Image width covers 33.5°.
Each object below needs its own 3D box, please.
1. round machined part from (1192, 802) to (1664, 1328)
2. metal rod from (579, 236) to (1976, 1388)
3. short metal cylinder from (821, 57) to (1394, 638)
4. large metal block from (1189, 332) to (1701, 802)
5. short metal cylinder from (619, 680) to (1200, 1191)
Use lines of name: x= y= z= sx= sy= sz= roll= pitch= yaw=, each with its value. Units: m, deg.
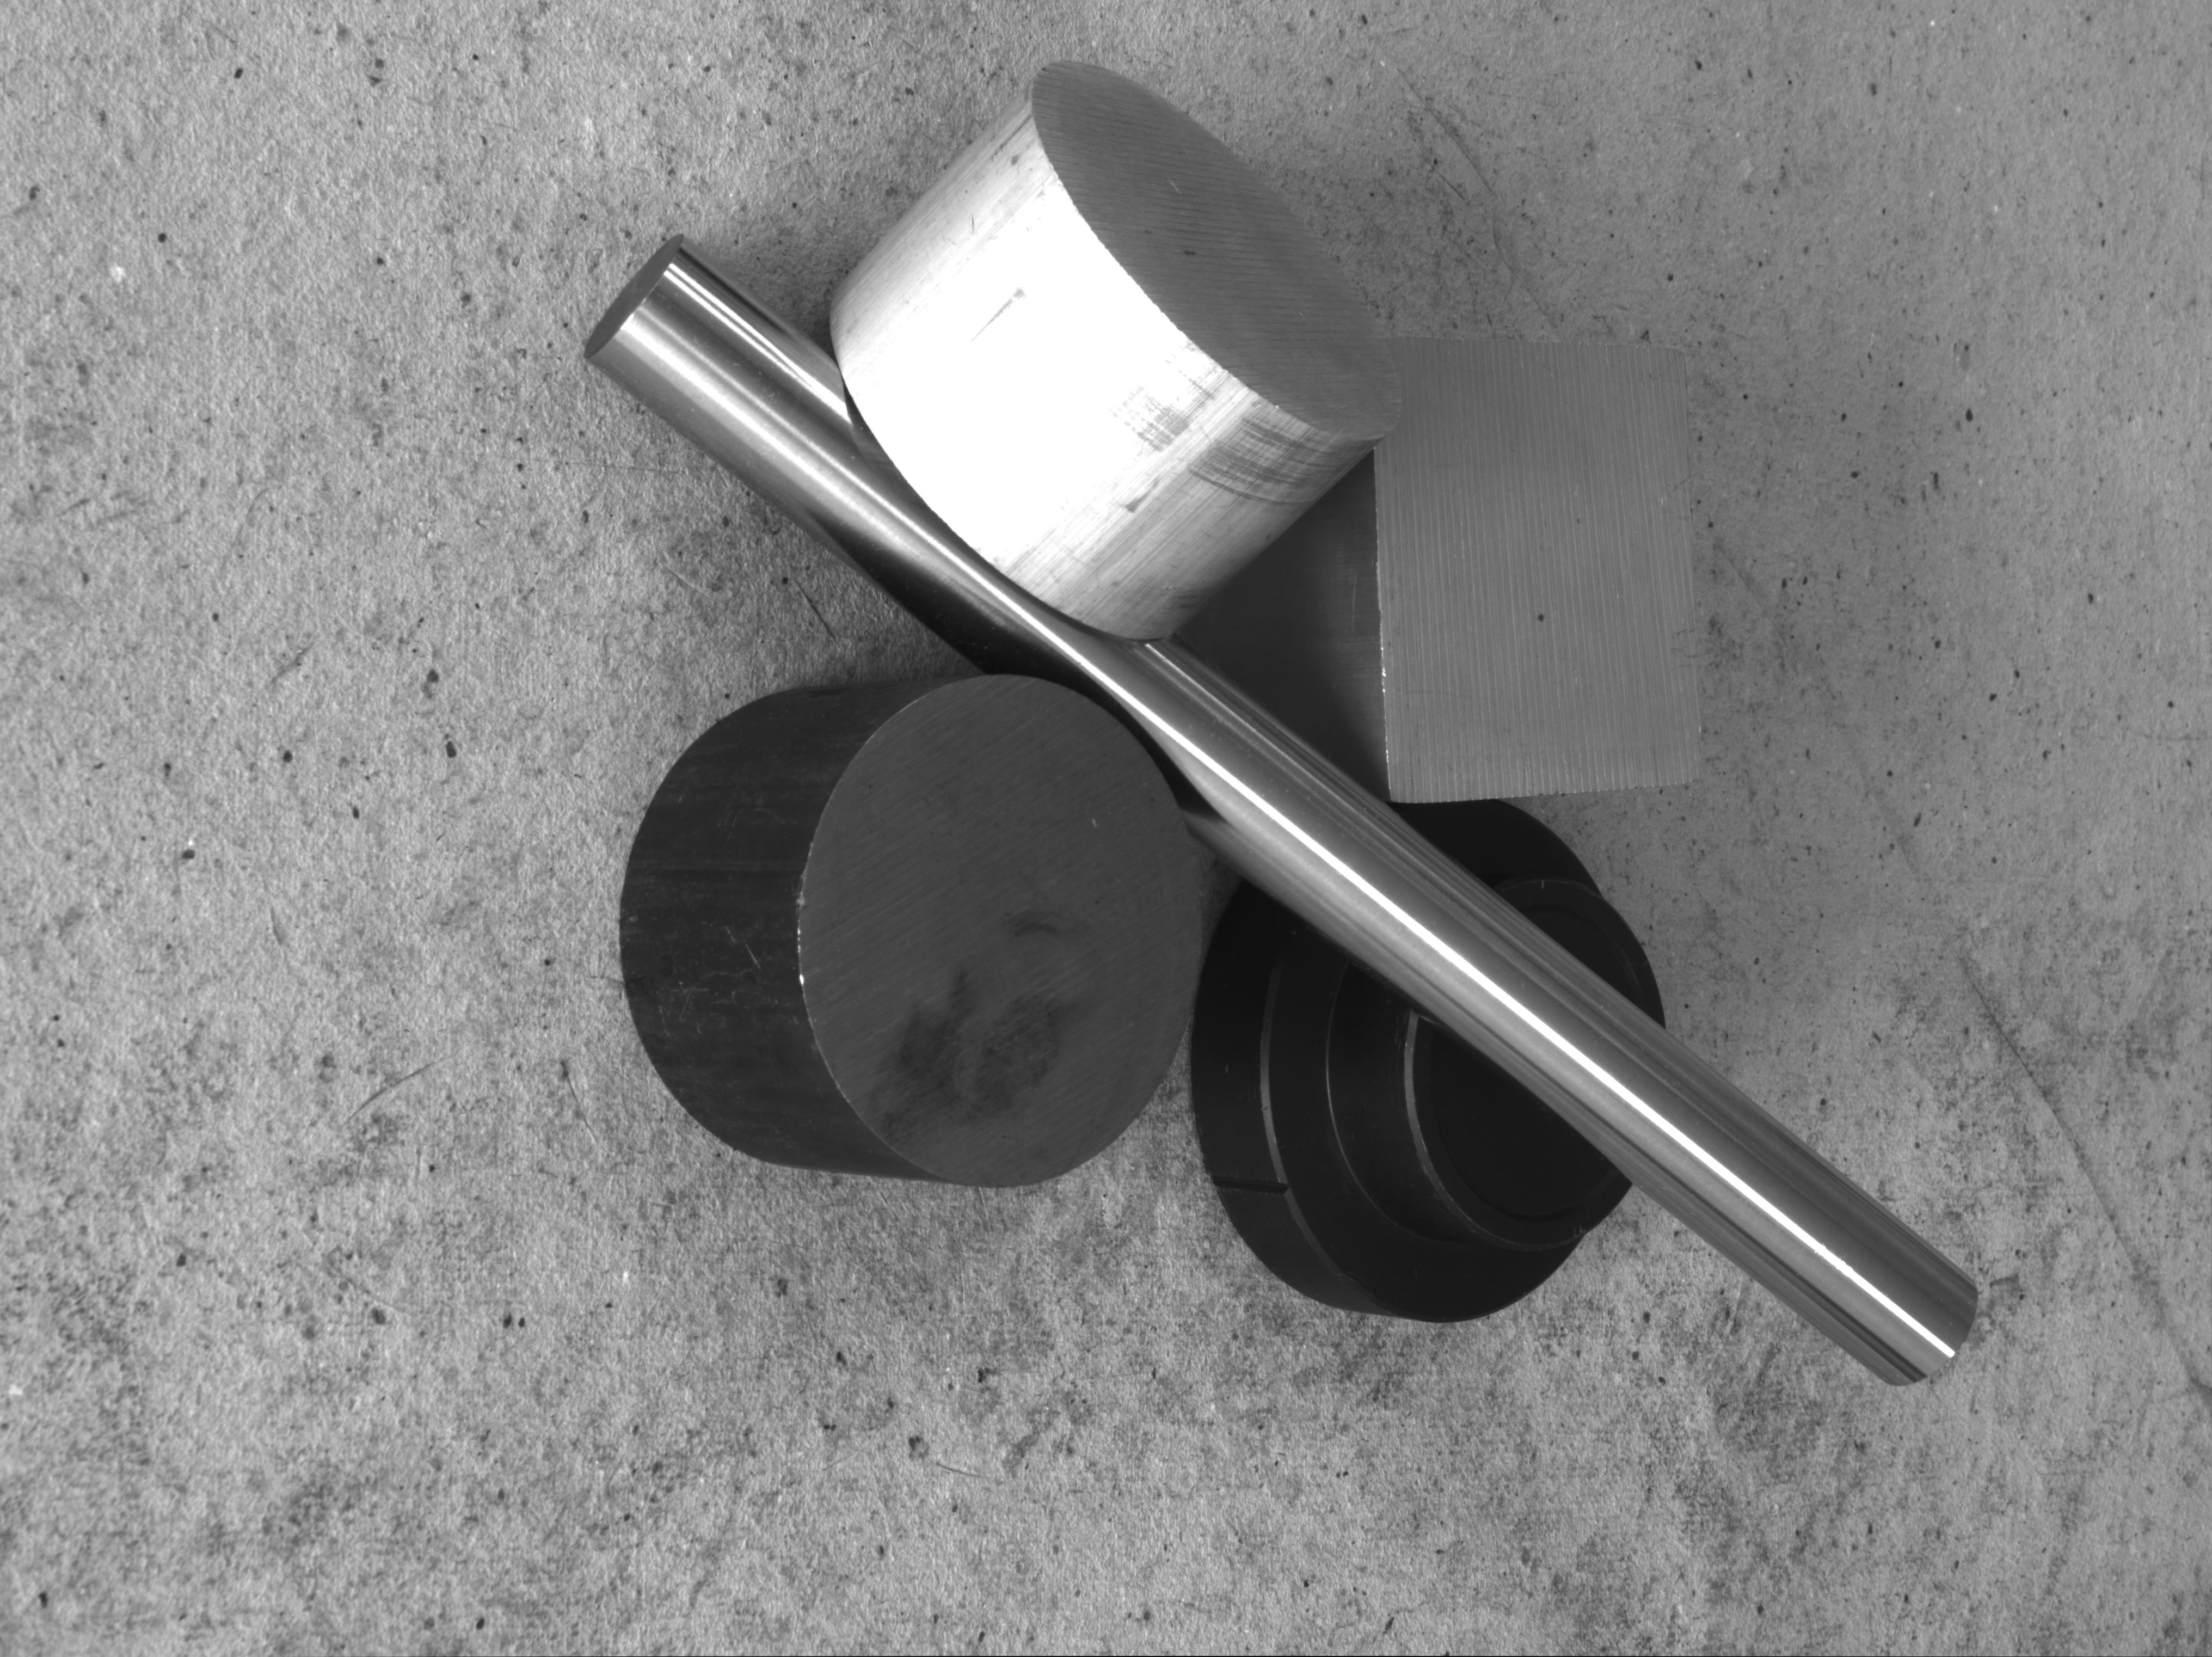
round machined part: x=0.066 y=0.043 z=0.679 sx=0.098 sy=0.042 sz=0.098 roll=0 pitch=90 yaw=-40
metal rod: x=0.037 y=0.004 z=0.624 sx=0.301 sy=0.025 sz=0.025 roll=38 pitch=66 yaw=-19
short metal cylinder: x=0.001 y=-0.078 z=0.597 sx=0.080 sy=0.050 sz=0.080 roll=36 pitch=29 yaw=-23
large metal block: x=0.061 y=-0.046 z=0.669 sx=0.080 sy=0.050 sz=0.080 roll=-4 pitch=92 yaw=-40
short metal cylinder: x=-0.031 y=0.017 z=0.595 sx=0.080 sy=0.050 sz=0.080 roll=0 pitch=90 yaw=-40
